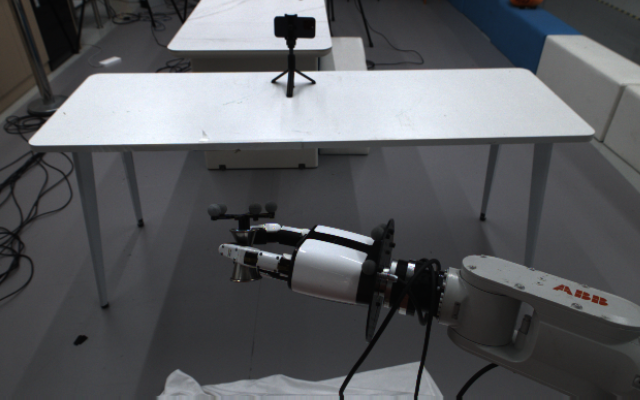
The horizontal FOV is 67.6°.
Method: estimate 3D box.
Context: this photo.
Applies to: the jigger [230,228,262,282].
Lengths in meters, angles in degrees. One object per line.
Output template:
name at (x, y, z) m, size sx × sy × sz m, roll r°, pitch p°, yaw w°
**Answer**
jigger at (-0.101, 0.073, 0.652) m, size 0.043 × 0.071 × 0.043 m, roll -2°, pitch 3°, yaw 0°
